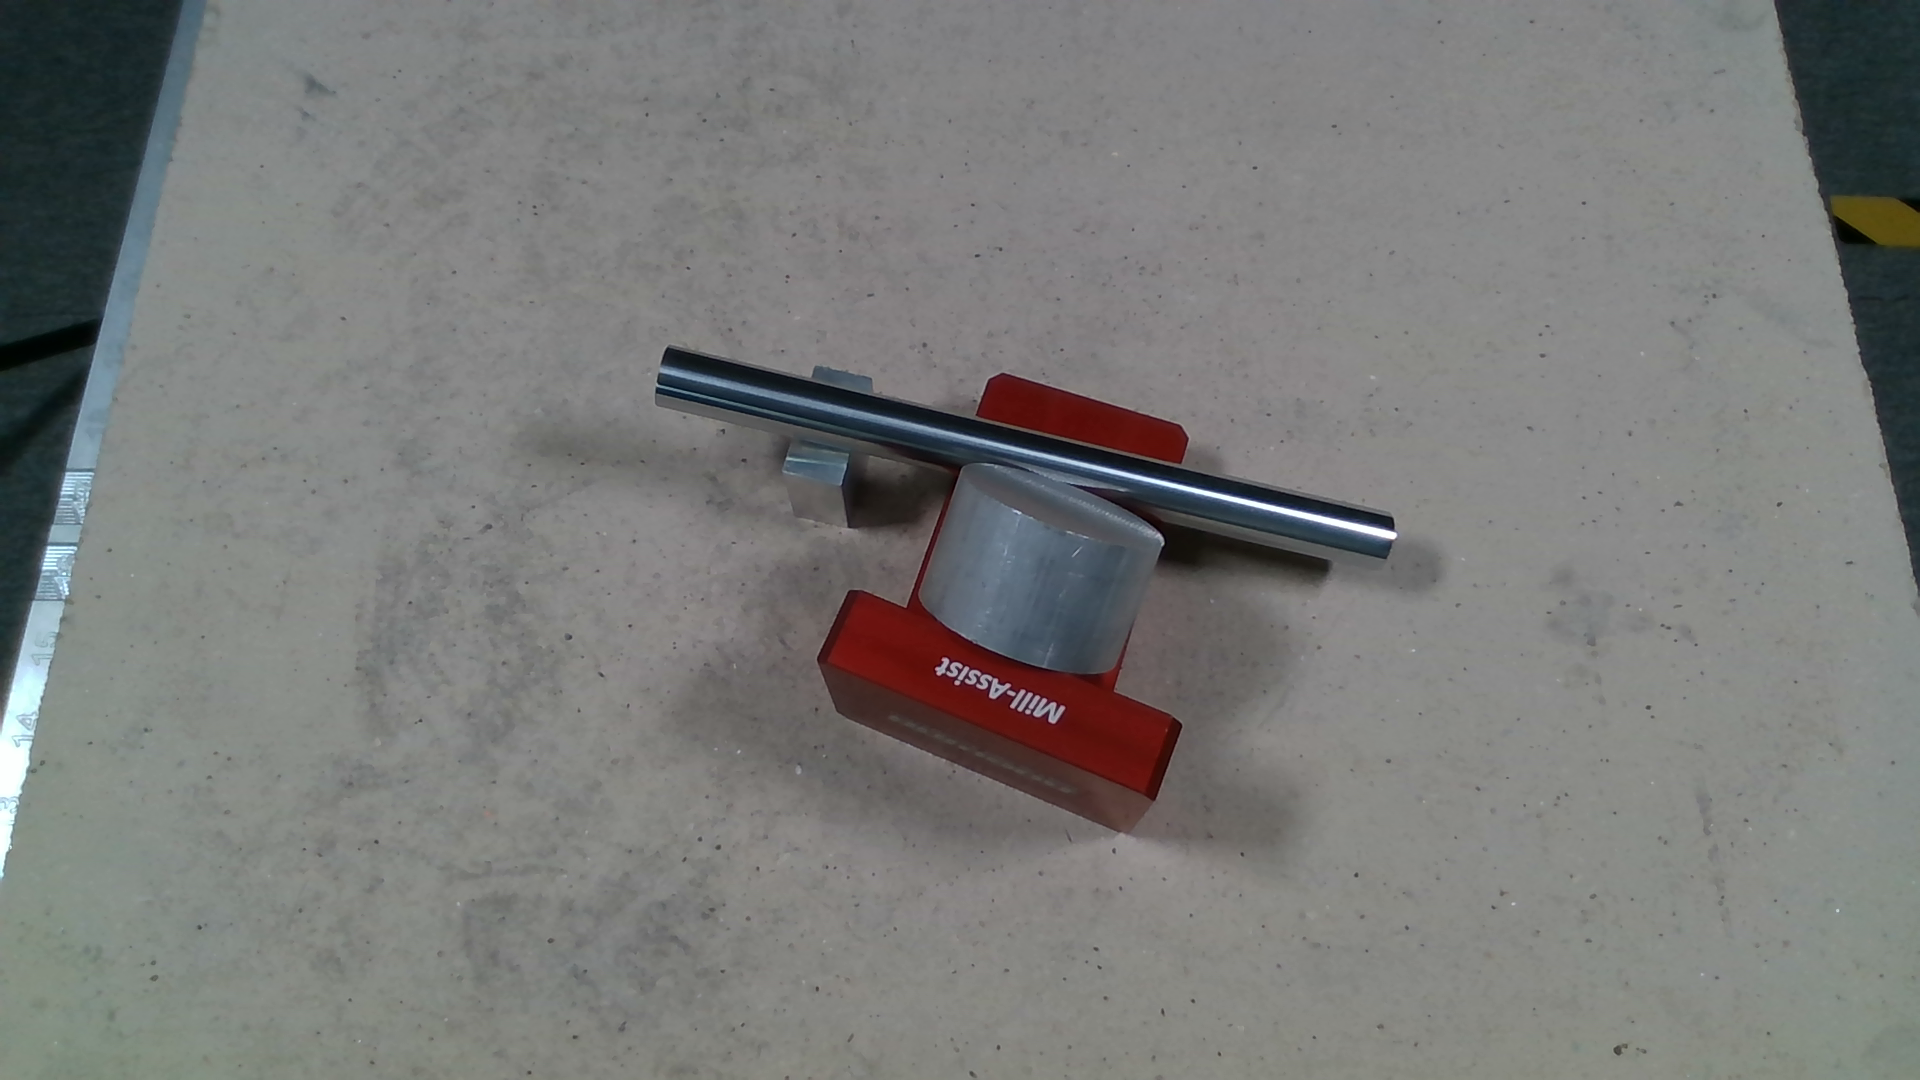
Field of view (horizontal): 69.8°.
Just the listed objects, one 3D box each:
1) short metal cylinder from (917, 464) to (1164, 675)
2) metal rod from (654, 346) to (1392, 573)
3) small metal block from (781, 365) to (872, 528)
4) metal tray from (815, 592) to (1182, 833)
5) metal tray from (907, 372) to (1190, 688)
[{"bbox_3d":[0.030,0.010,0.516,0.080,0.080,0.050,22,104,8],"label":"short metal cylinder"},{"bbox_3d":[0.028,-0.032,0.558,0.300,0.025,0.025,13,70,-5],"label":"metal rod"},{"bbox_3d":[-0.055,-0.039,0.589,0.025,0.050,0.050,12,71,4],"label":"small metal block"},{"bbox_3d":[0.013,0.069,0.529,0.130,0.090,0.030,21,71,7],"label":"metal tray"},{"bbox_3d":[0.036,0.002,0.584,0.090,0.030,0.130,17,71,6],"label":"metal tray"}]
